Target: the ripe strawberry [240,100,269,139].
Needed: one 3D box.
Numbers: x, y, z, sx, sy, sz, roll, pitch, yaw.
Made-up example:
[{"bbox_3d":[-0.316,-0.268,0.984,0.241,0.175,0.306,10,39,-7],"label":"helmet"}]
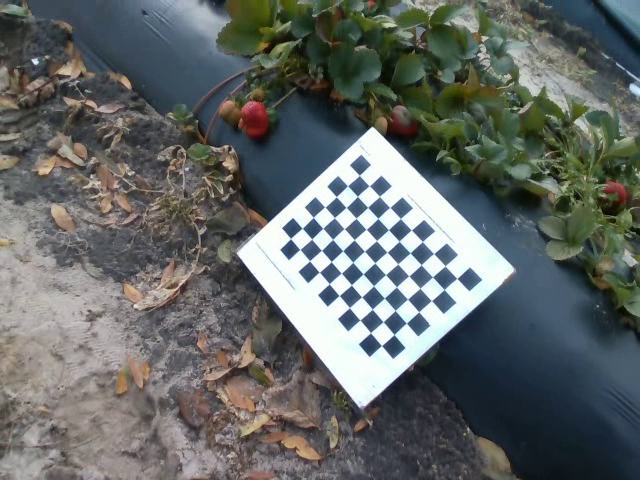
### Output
[{"bbox_3d":[-0.118,-0.214,0.975,0.066,0.075,0.052,29,-4,17],"label":"ripe strawberry"}]
